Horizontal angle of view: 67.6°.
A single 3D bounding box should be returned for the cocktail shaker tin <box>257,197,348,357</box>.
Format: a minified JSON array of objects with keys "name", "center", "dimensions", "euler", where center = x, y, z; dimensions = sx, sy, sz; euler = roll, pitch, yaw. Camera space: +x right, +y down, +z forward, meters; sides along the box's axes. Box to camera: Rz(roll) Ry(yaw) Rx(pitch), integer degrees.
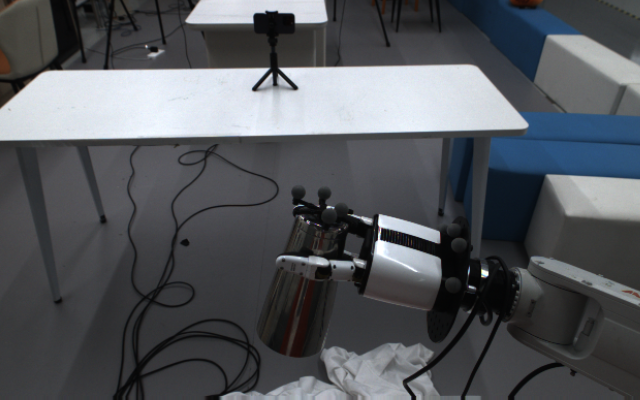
[{"name":"cocktail shaker tin","center":[-0.015,0.098,0.613],"dimensions":[0.093,0.170,0.093],"euler":[14,18,-5]}]
